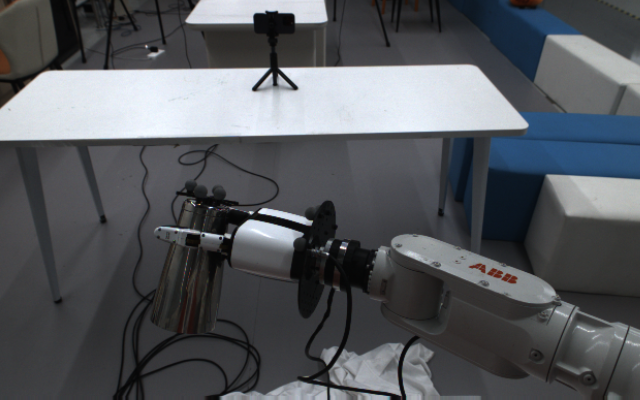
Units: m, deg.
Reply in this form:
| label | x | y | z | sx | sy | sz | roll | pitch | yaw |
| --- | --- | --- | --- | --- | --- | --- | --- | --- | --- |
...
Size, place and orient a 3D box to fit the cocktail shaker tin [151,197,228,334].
| label | x | y | z | sx | sy | sz | roll | pitch | yaw |
| --- | --- | --- | --- | --- | --- | --- | --- | --- | --- |
| cocktail shaker tin | -0.174 | 0.087 | 0.680 | 0.093 | 0.170 | 0.093 | 13 | 3 | -1 |
